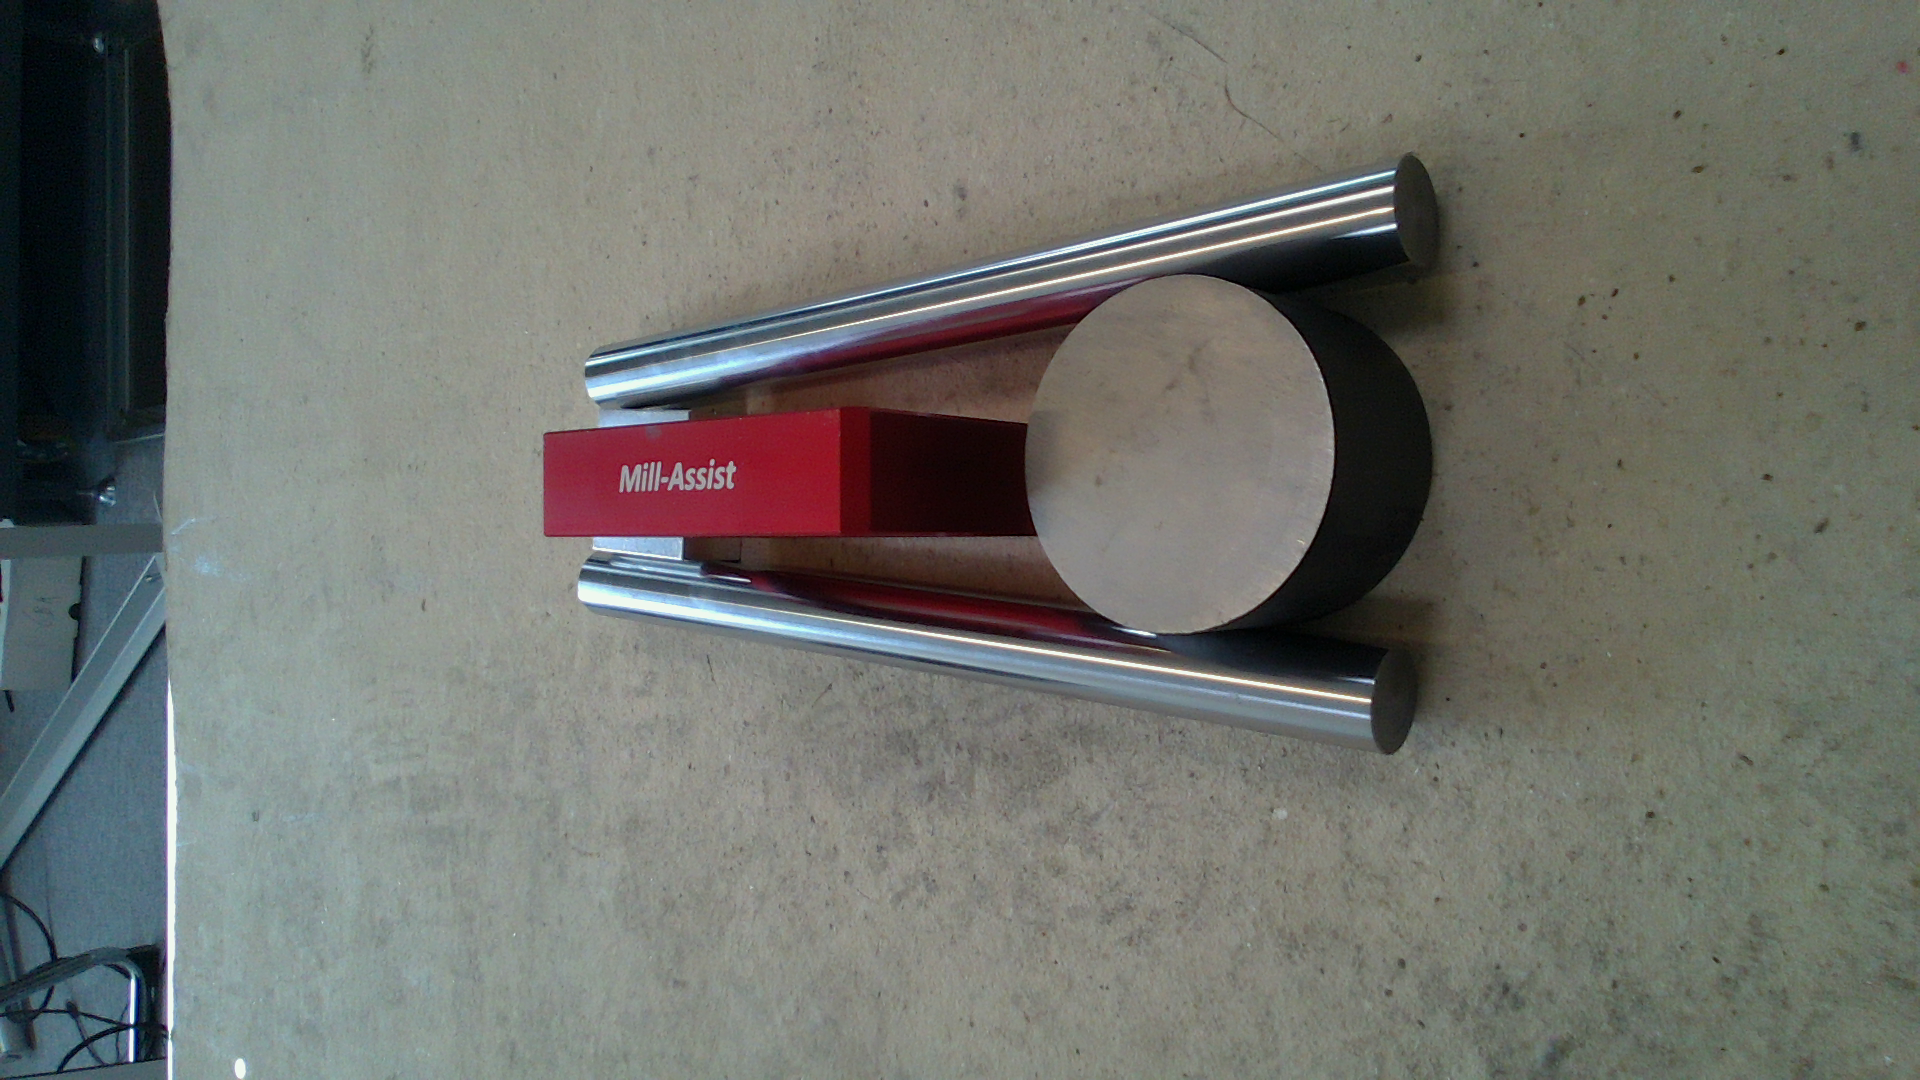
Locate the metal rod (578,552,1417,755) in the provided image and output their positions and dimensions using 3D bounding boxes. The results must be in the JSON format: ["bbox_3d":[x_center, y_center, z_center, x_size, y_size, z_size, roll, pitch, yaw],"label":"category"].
[{"bbox_3d":[-0.015,0.026,0.408,0.299,0.025,0.025,5,94,40],"label":"metal rod"}]

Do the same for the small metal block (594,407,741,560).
[{"bbox_3d":[-0.102,-0.020,0.481,0.050,0.025,0.050,5,94,40],"label":"small metal block"}]

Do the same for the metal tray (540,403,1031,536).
[{"bbox_3d":[-0.045,-0.016,0.389,0.129,0.090,0.030,0,90,41],"label":"metal tray"}]

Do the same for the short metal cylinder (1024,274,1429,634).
[{"bbox_3d":[0.062,-0.019,0.326,0.080,0.050,0.080,0,90,40],"label":"short metal cylinder"}]

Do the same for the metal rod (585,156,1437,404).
[{"bbox_3d":[-0.012,-0.066,0.405,0.299,0.025,0.025,-4,88,40],"label":"metal rod"}]
